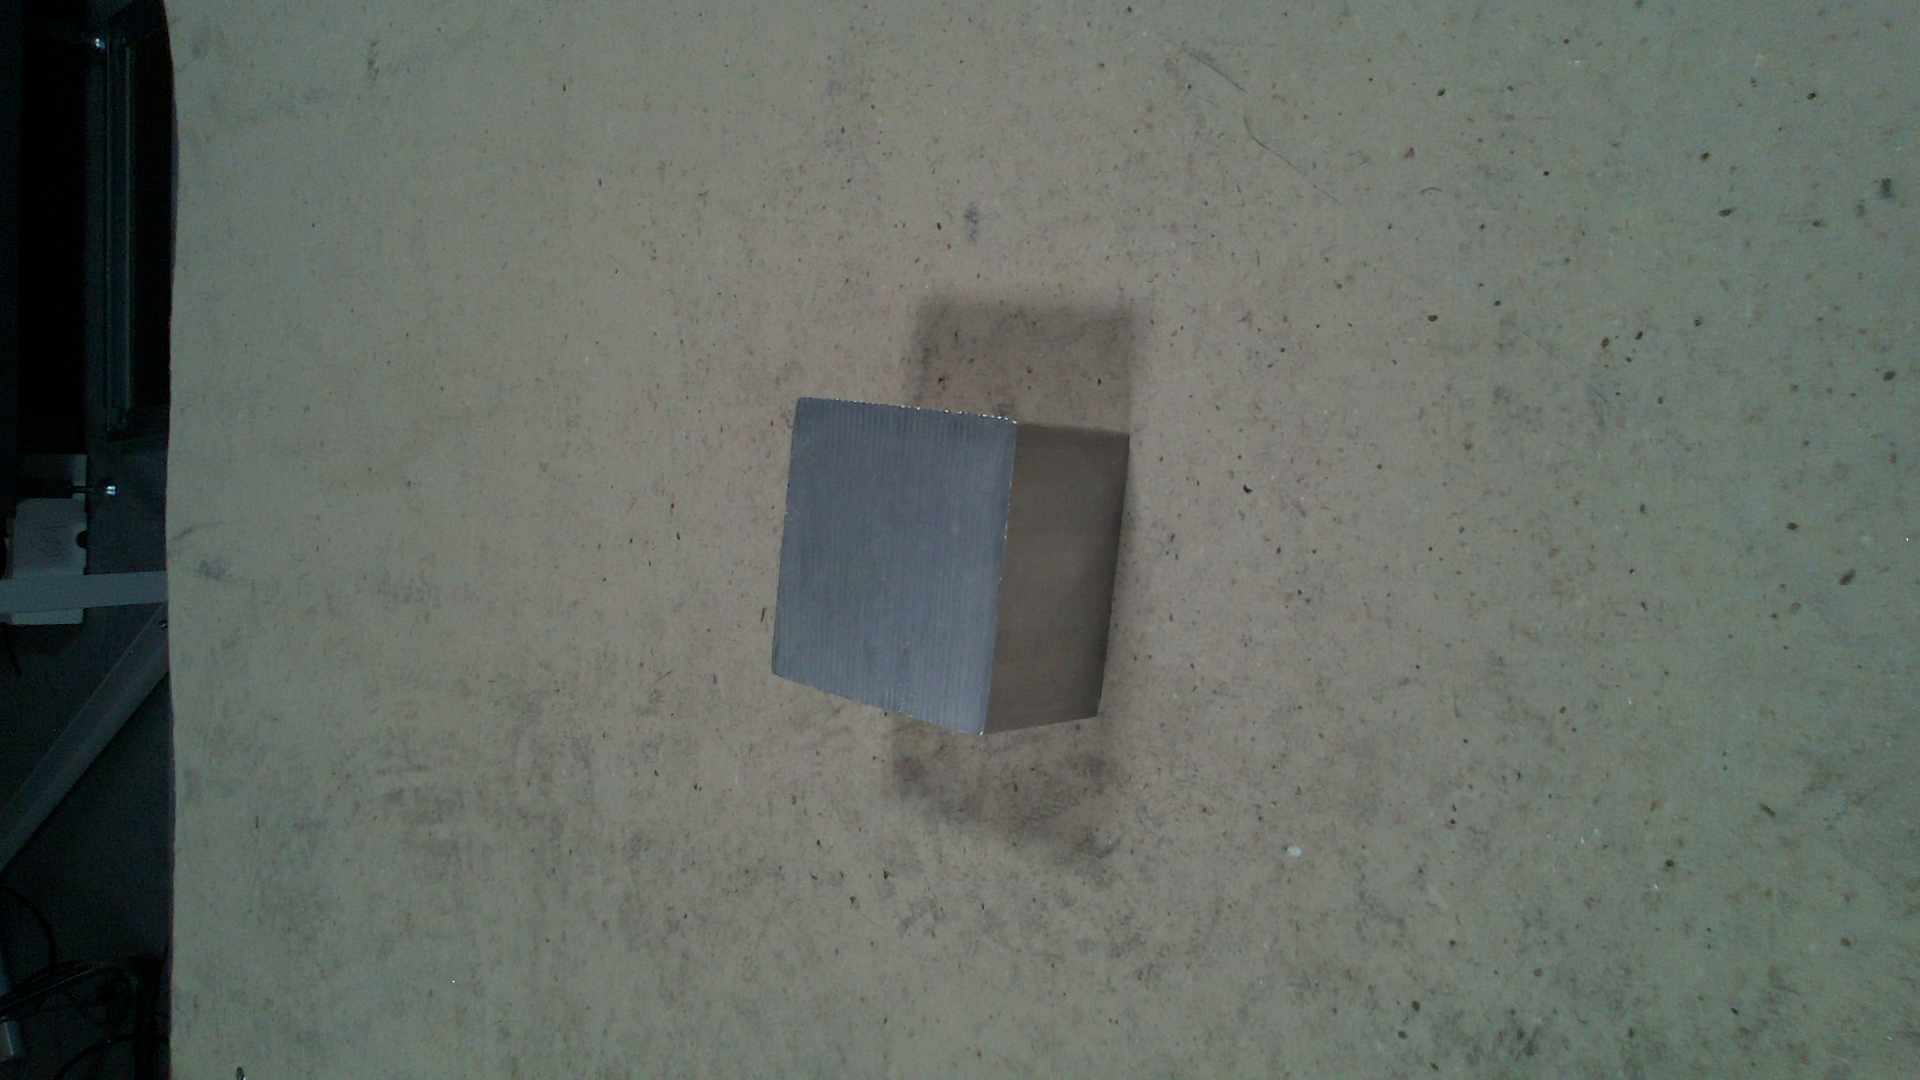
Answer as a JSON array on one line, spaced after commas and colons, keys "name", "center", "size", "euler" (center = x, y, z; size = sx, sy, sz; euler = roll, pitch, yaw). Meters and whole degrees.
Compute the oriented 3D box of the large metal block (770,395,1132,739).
[{"name": "large metal block", "center": [-0.004, 0.004, 0.382], "size": [0.080, 0.050, 0.080], "euler": [10, 96, 40]}]
